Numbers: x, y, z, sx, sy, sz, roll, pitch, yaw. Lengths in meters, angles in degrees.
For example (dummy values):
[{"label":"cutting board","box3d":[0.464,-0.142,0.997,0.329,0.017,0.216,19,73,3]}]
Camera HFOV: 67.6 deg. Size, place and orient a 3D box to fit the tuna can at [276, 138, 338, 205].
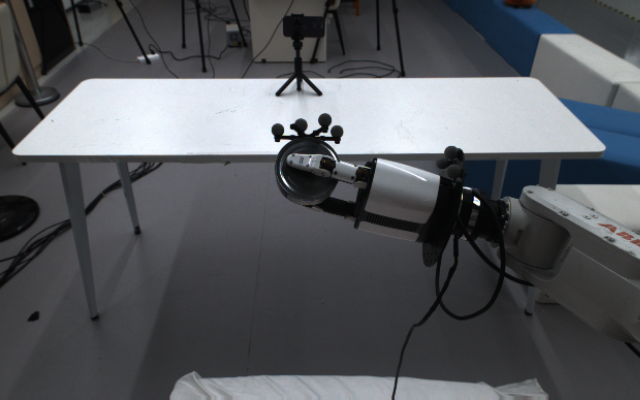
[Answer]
[{"label":"tuna can","box3d":[-0.014,-0.034,0.629,0.085,0.034,0.085,1,70,-4]}]
